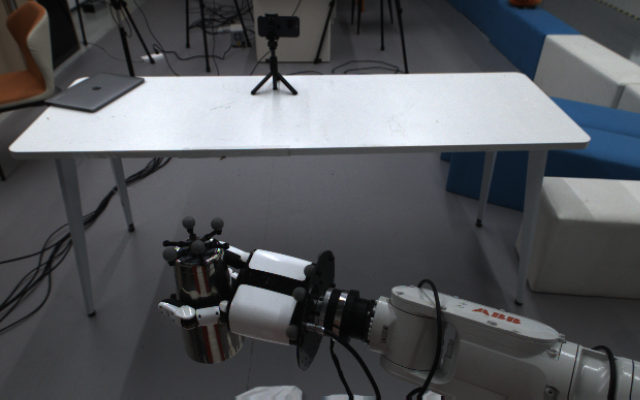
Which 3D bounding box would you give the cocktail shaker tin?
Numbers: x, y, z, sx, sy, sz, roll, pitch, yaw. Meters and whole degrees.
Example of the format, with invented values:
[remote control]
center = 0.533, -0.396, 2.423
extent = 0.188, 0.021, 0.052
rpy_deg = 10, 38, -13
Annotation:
[cocktail shaker tin]
center = -0.158, 0.137, 0.684
extent = 0.093, 0.170, 0.093
rpy_deg = -1, 33, 1
